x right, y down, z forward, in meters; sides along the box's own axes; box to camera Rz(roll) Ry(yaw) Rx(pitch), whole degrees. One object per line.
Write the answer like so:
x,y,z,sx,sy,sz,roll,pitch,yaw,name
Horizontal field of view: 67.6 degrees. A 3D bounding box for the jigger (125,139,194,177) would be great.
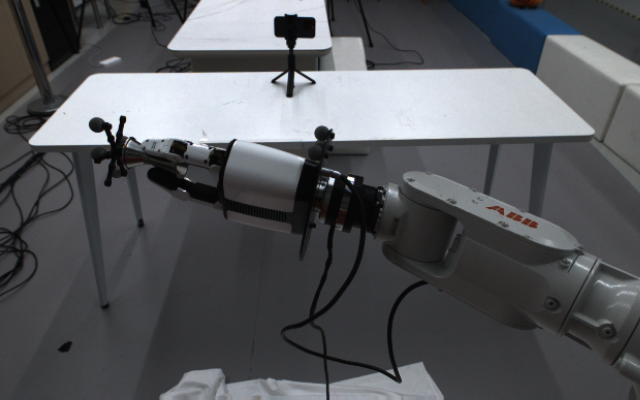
-0.194,-0.056,0.591,0.071,0.043,0.043,8,35,2,jigger
